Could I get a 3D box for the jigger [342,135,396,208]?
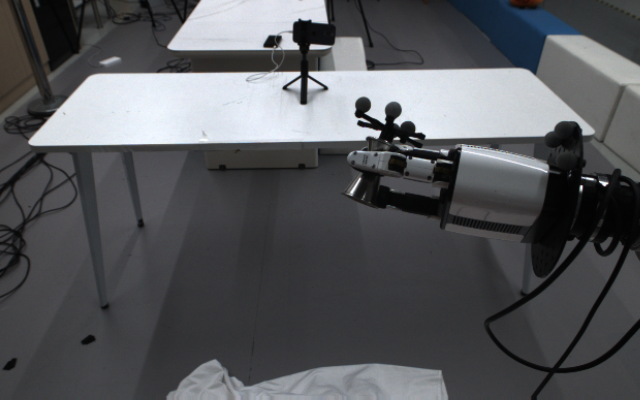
[{"bbox_3d":[0.054,-0.032,0.526,0.043,0.071,0.043,25,-3,1],"label":"jigger"}]
